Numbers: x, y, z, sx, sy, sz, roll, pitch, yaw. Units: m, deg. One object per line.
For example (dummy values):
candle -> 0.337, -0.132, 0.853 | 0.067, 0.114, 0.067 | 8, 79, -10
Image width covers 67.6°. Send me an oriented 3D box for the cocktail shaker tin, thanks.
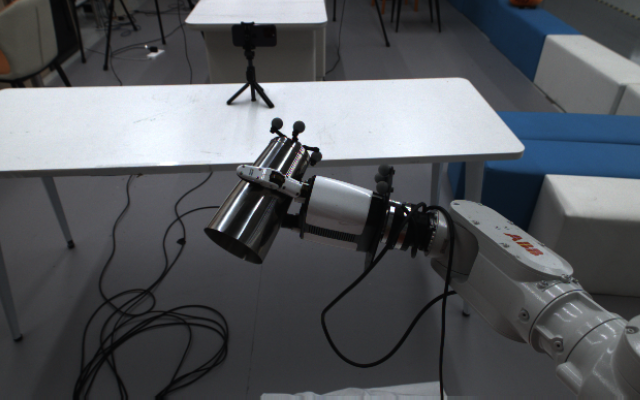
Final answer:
cocktail shaker tin -> -0.079, -0.009, 0.688 | 0.093, 0.093, 0.170 | 18, 66, 21
